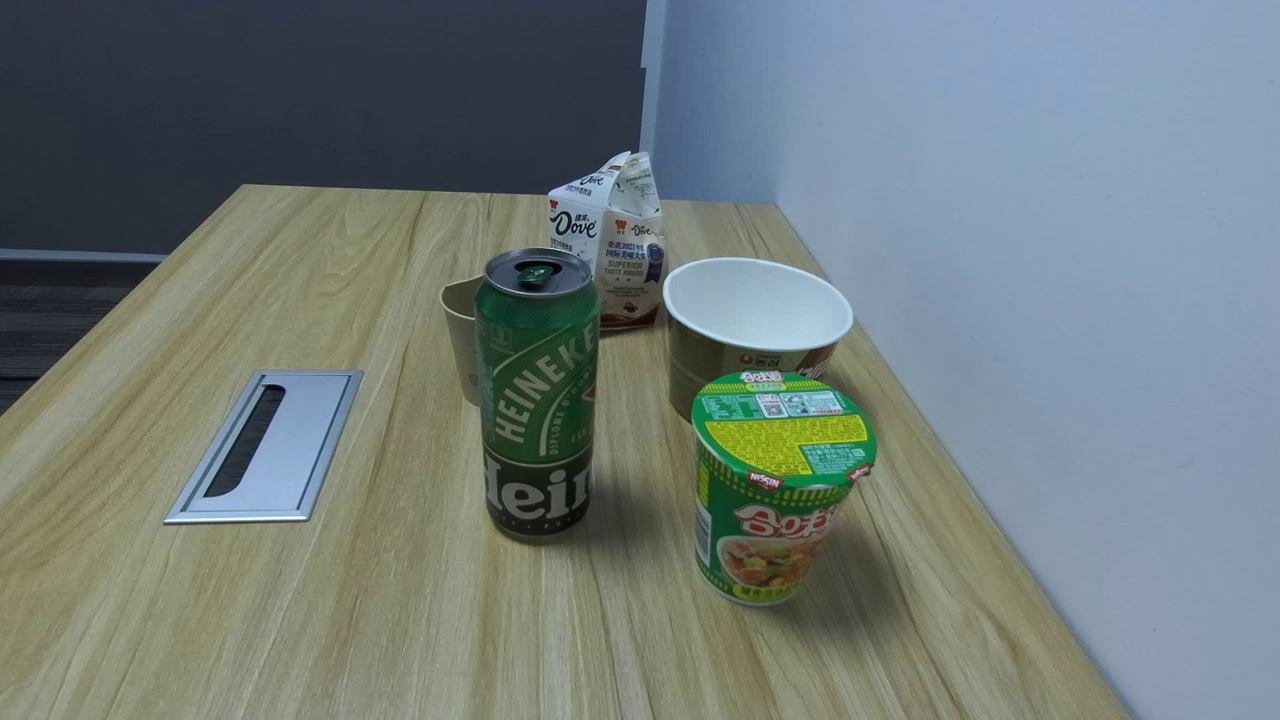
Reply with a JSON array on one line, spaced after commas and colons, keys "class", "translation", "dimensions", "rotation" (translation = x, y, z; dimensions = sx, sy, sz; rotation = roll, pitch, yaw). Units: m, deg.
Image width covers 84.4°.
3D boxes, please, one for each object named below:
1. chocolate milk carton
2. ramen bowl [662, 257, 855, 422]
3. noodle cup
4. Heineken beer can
[{"class": "chocolate milk carton", "translation": [-0.029, -0.107, 0.633], "dimensions": [0.077, 0.155, 0.089], "rotation": [-14, 24, -32]}, {"class": "ramen bowl", "translation": [0.082, -0.007, 0.543], "dimensions": [0.140, 0.095, 0.140], "rotation": [4, 34, -2]}, {"class": "noodle cup", "translation": [0.071, 0.077, 0.398], "dimensions": [0.097, 0.110, 0.097], "rotation": [5, 35, -3]}, {"class": "Heineken beer can", "translation": [-0.058, 0.025, 0.410], "dimensions": [0.067, 0.169, 0.067], "rotation": [4, 33, -2]}]
